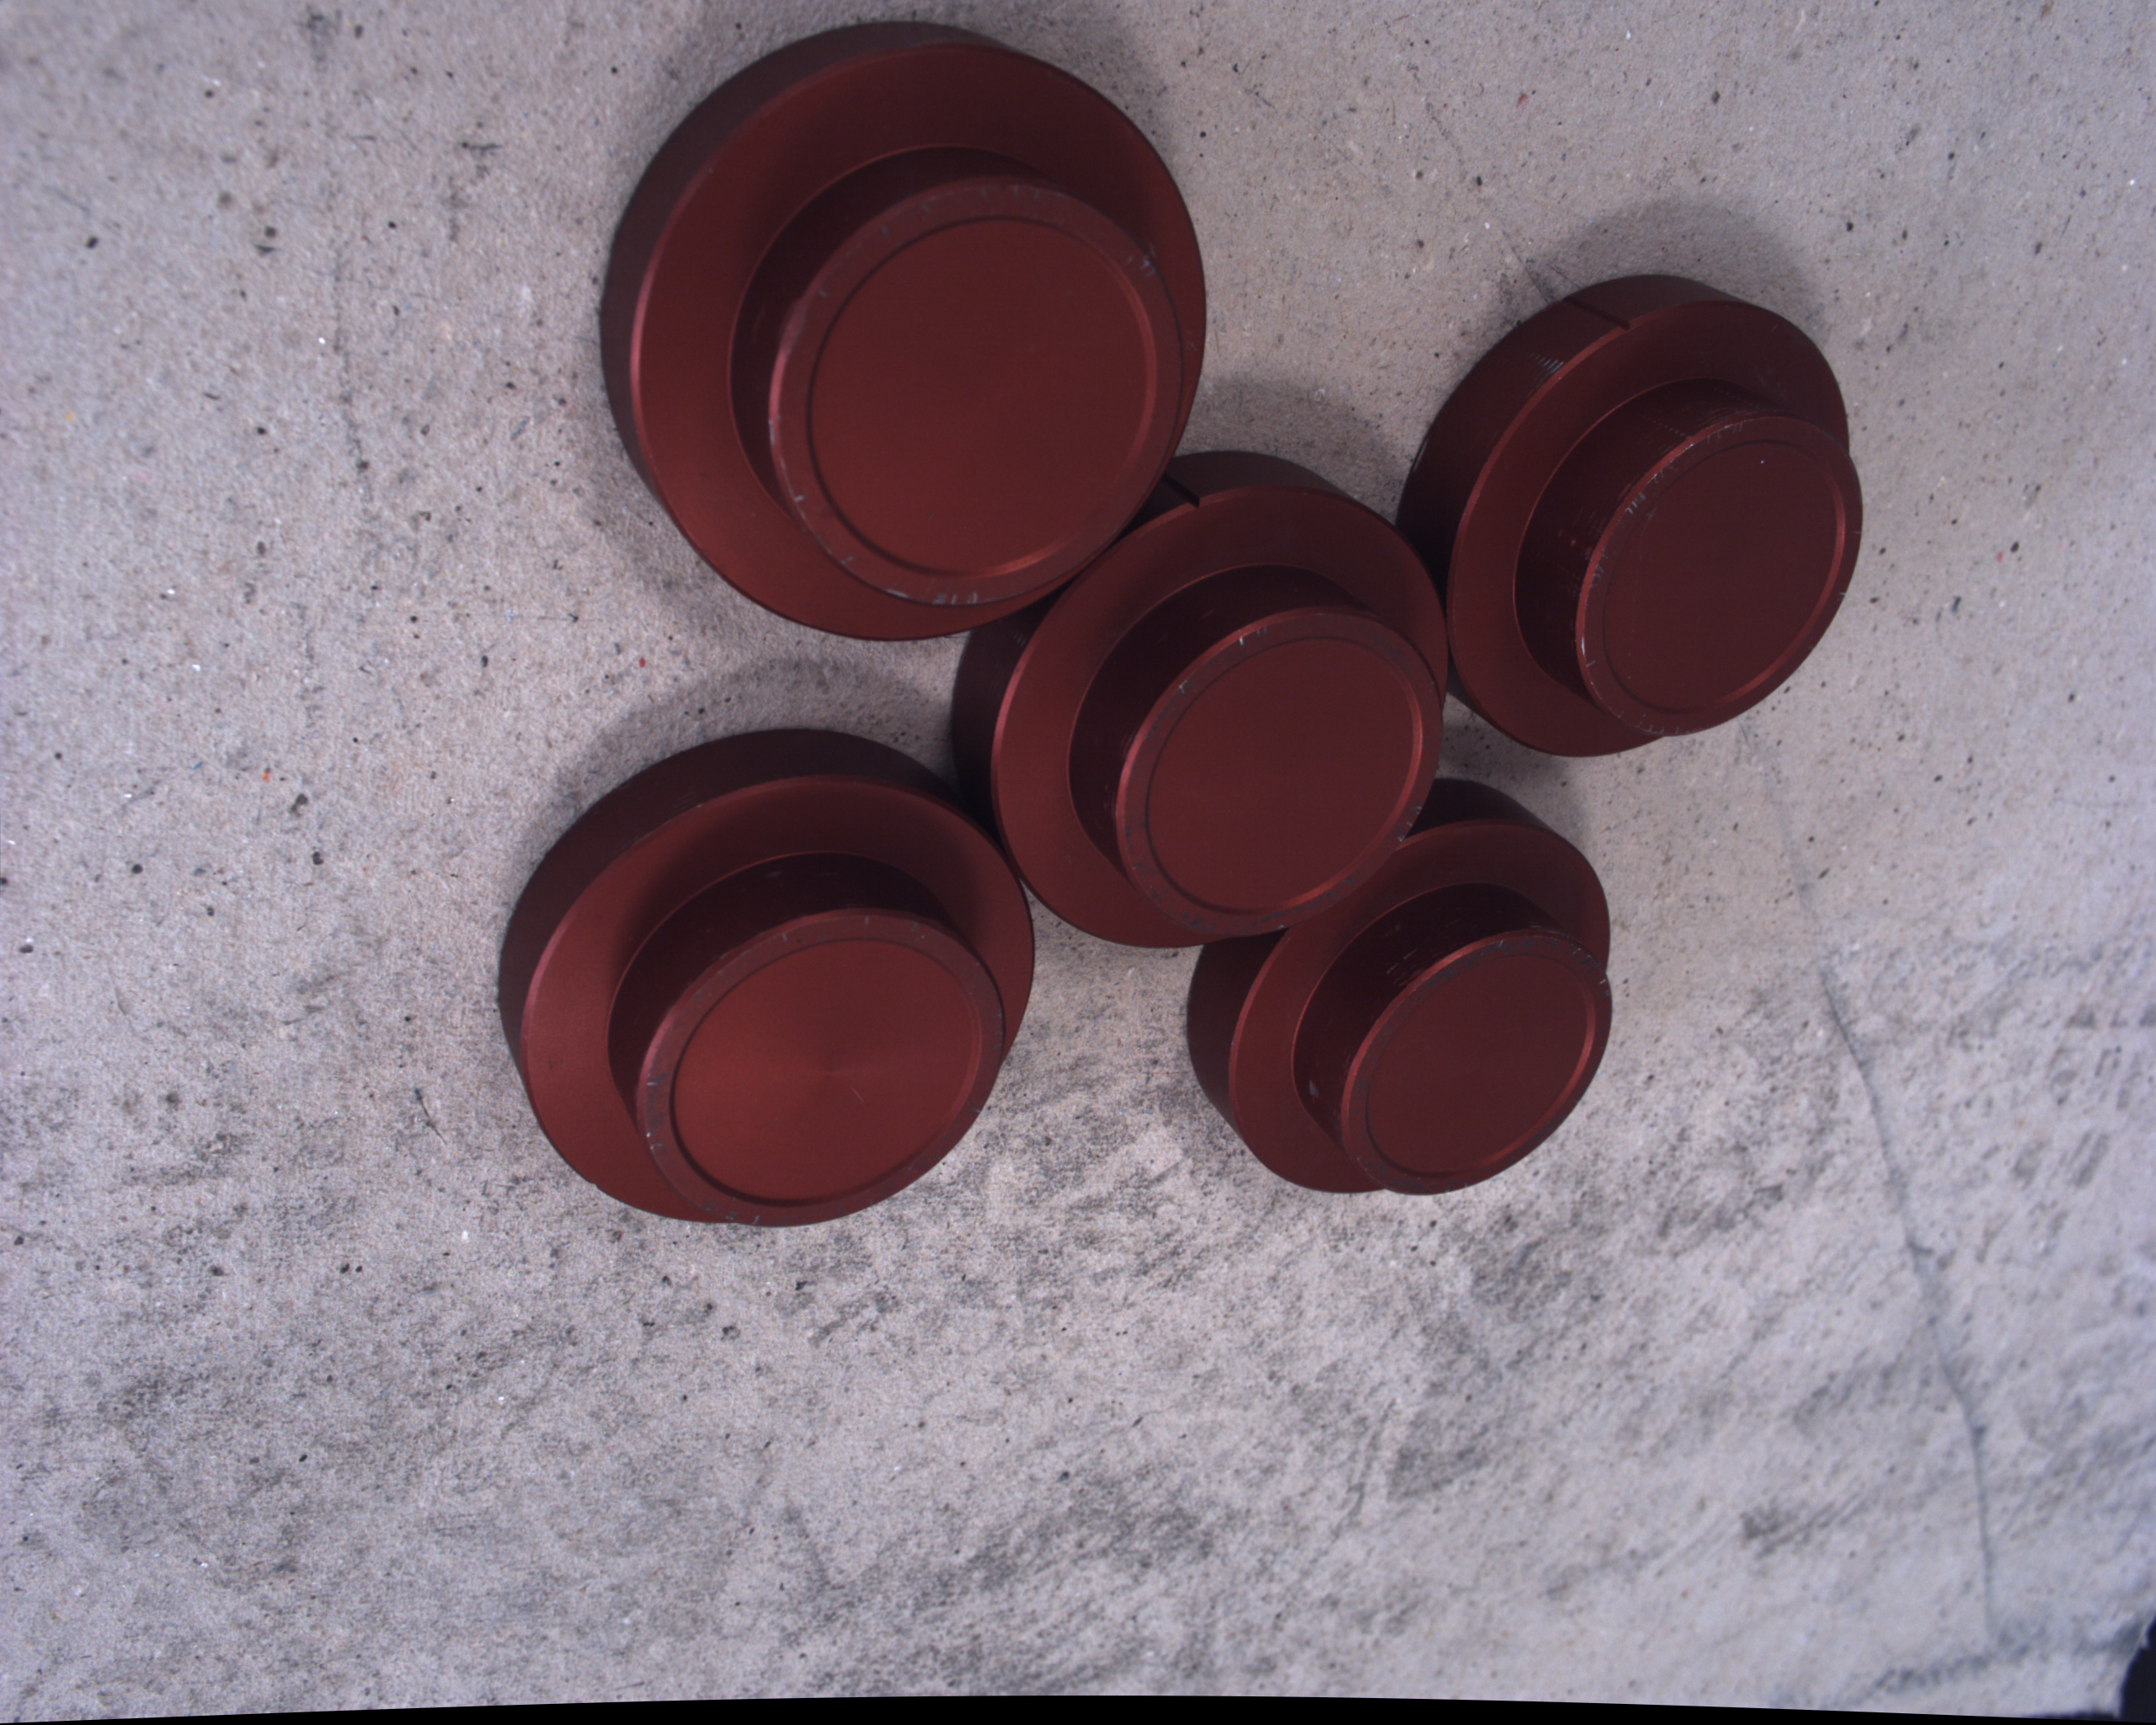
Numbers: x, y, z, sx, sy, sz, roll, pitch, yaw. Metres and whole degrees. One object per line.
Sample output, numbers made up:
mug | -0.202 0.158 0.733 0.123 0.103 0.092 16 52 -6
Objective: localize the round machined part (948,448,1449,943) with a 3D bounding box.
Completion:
round machined part | 0.029 -0.025 0.397 0.099 0.042 0.097 -14 126 -20

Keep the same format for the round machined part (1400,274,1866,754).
round machined part | 0.117 -0.064 0.420 0.099 0.042 0.097 -14 126 -20

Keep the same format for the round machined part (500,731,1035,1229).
round machined part | -0.053 0.028 0.385 0.099 0.042 0.097 -14 125 -21

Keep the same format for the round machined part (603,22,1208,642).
round machined part | -0.022 -0.080 0.335 0.099 0.042 0.097 -14 124 -21

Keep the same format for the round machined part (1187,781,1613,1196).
round machined part | 0.077 0.034 0.460 0.099 0.042 0.097 -14 126 -20
